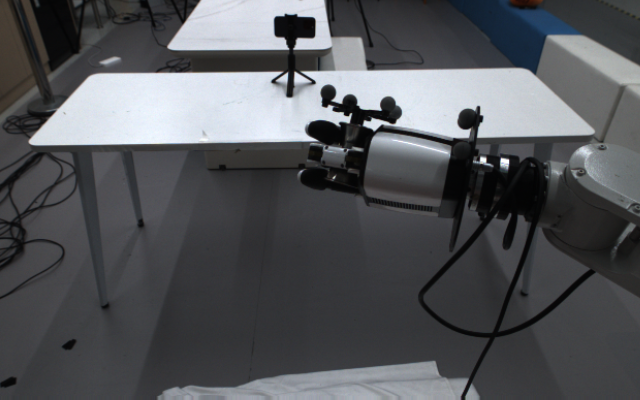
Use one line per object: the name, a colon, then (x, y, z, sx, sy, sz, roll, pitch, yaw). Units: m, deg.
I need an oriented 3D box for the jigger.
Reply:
jigger: (0.036, -0.051, 0.556, 0.043, 0.071, 0.043, 14, 1, 0)
